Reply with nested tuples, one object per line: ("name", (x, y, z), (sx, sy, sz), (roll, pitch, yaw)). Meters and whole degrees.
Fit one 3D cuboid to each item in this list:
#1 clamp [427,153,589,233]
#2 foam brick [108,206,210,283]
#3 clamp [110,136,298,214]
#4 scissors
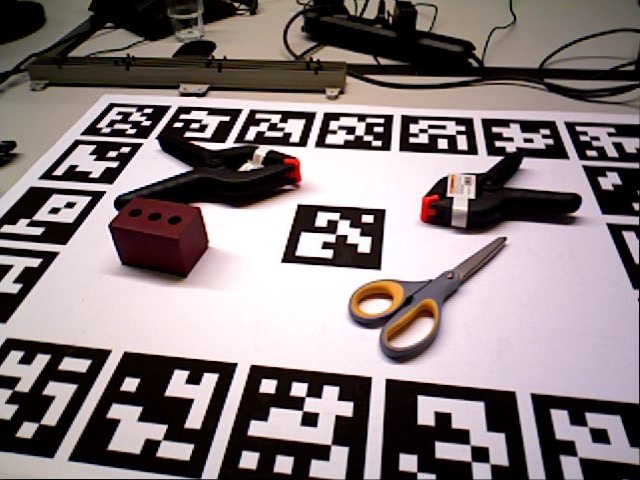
("clamp", (0.194, -0.048, 0.602), (0.163, 0.037, 0.121), (-16, 51, -13))
("foam brick", (-0.161, 0.004, 0.549), (0.078, 0.052, 0.051), (6, 44, 16))
("clamp", (-0.127, -0.080, 0.649), (0.202, 0.037, 0.162), (2, 39, 4))
("scissors", (0.114, 0.044, 0.508), (0.198, 0.016, 0.087), (-32, 57, -30))
